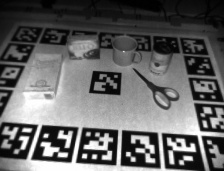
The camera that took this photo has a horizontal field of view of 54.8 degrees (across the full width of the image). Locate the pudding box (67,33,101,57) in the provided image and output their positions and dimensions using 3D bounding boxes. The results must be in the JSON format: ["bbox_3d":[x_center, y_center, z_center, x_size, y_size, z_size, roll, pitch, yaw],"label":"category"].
[{"bbox_3d":[-0.098,-0.147,0.772,0.114,0.090,0.038,-4,59,-6],"label":"pudding box"}]

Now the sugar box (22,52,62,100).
[{"bbox_3d":[-0.226,-0.036,0.718,0.093,0.045,0.175,0,54,0],"label":"sugar box"}]

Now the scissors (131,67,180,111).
[{"bbox_3d":[0.135,-0.003,0.724,0.088,0.016,0.200,-37,64,-16],"label":"scissors"}]

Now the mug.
[{"bbox_3d":[0.051,-0.135,0.780,0.094,0.082,0.116,-28,58,-19],"label":"mug"}]

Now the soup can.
[{"bbox_3d":[0.164,-0.098,0.755,0.068,0.102,0.067,1,51,0],"label":"soup can"}]
